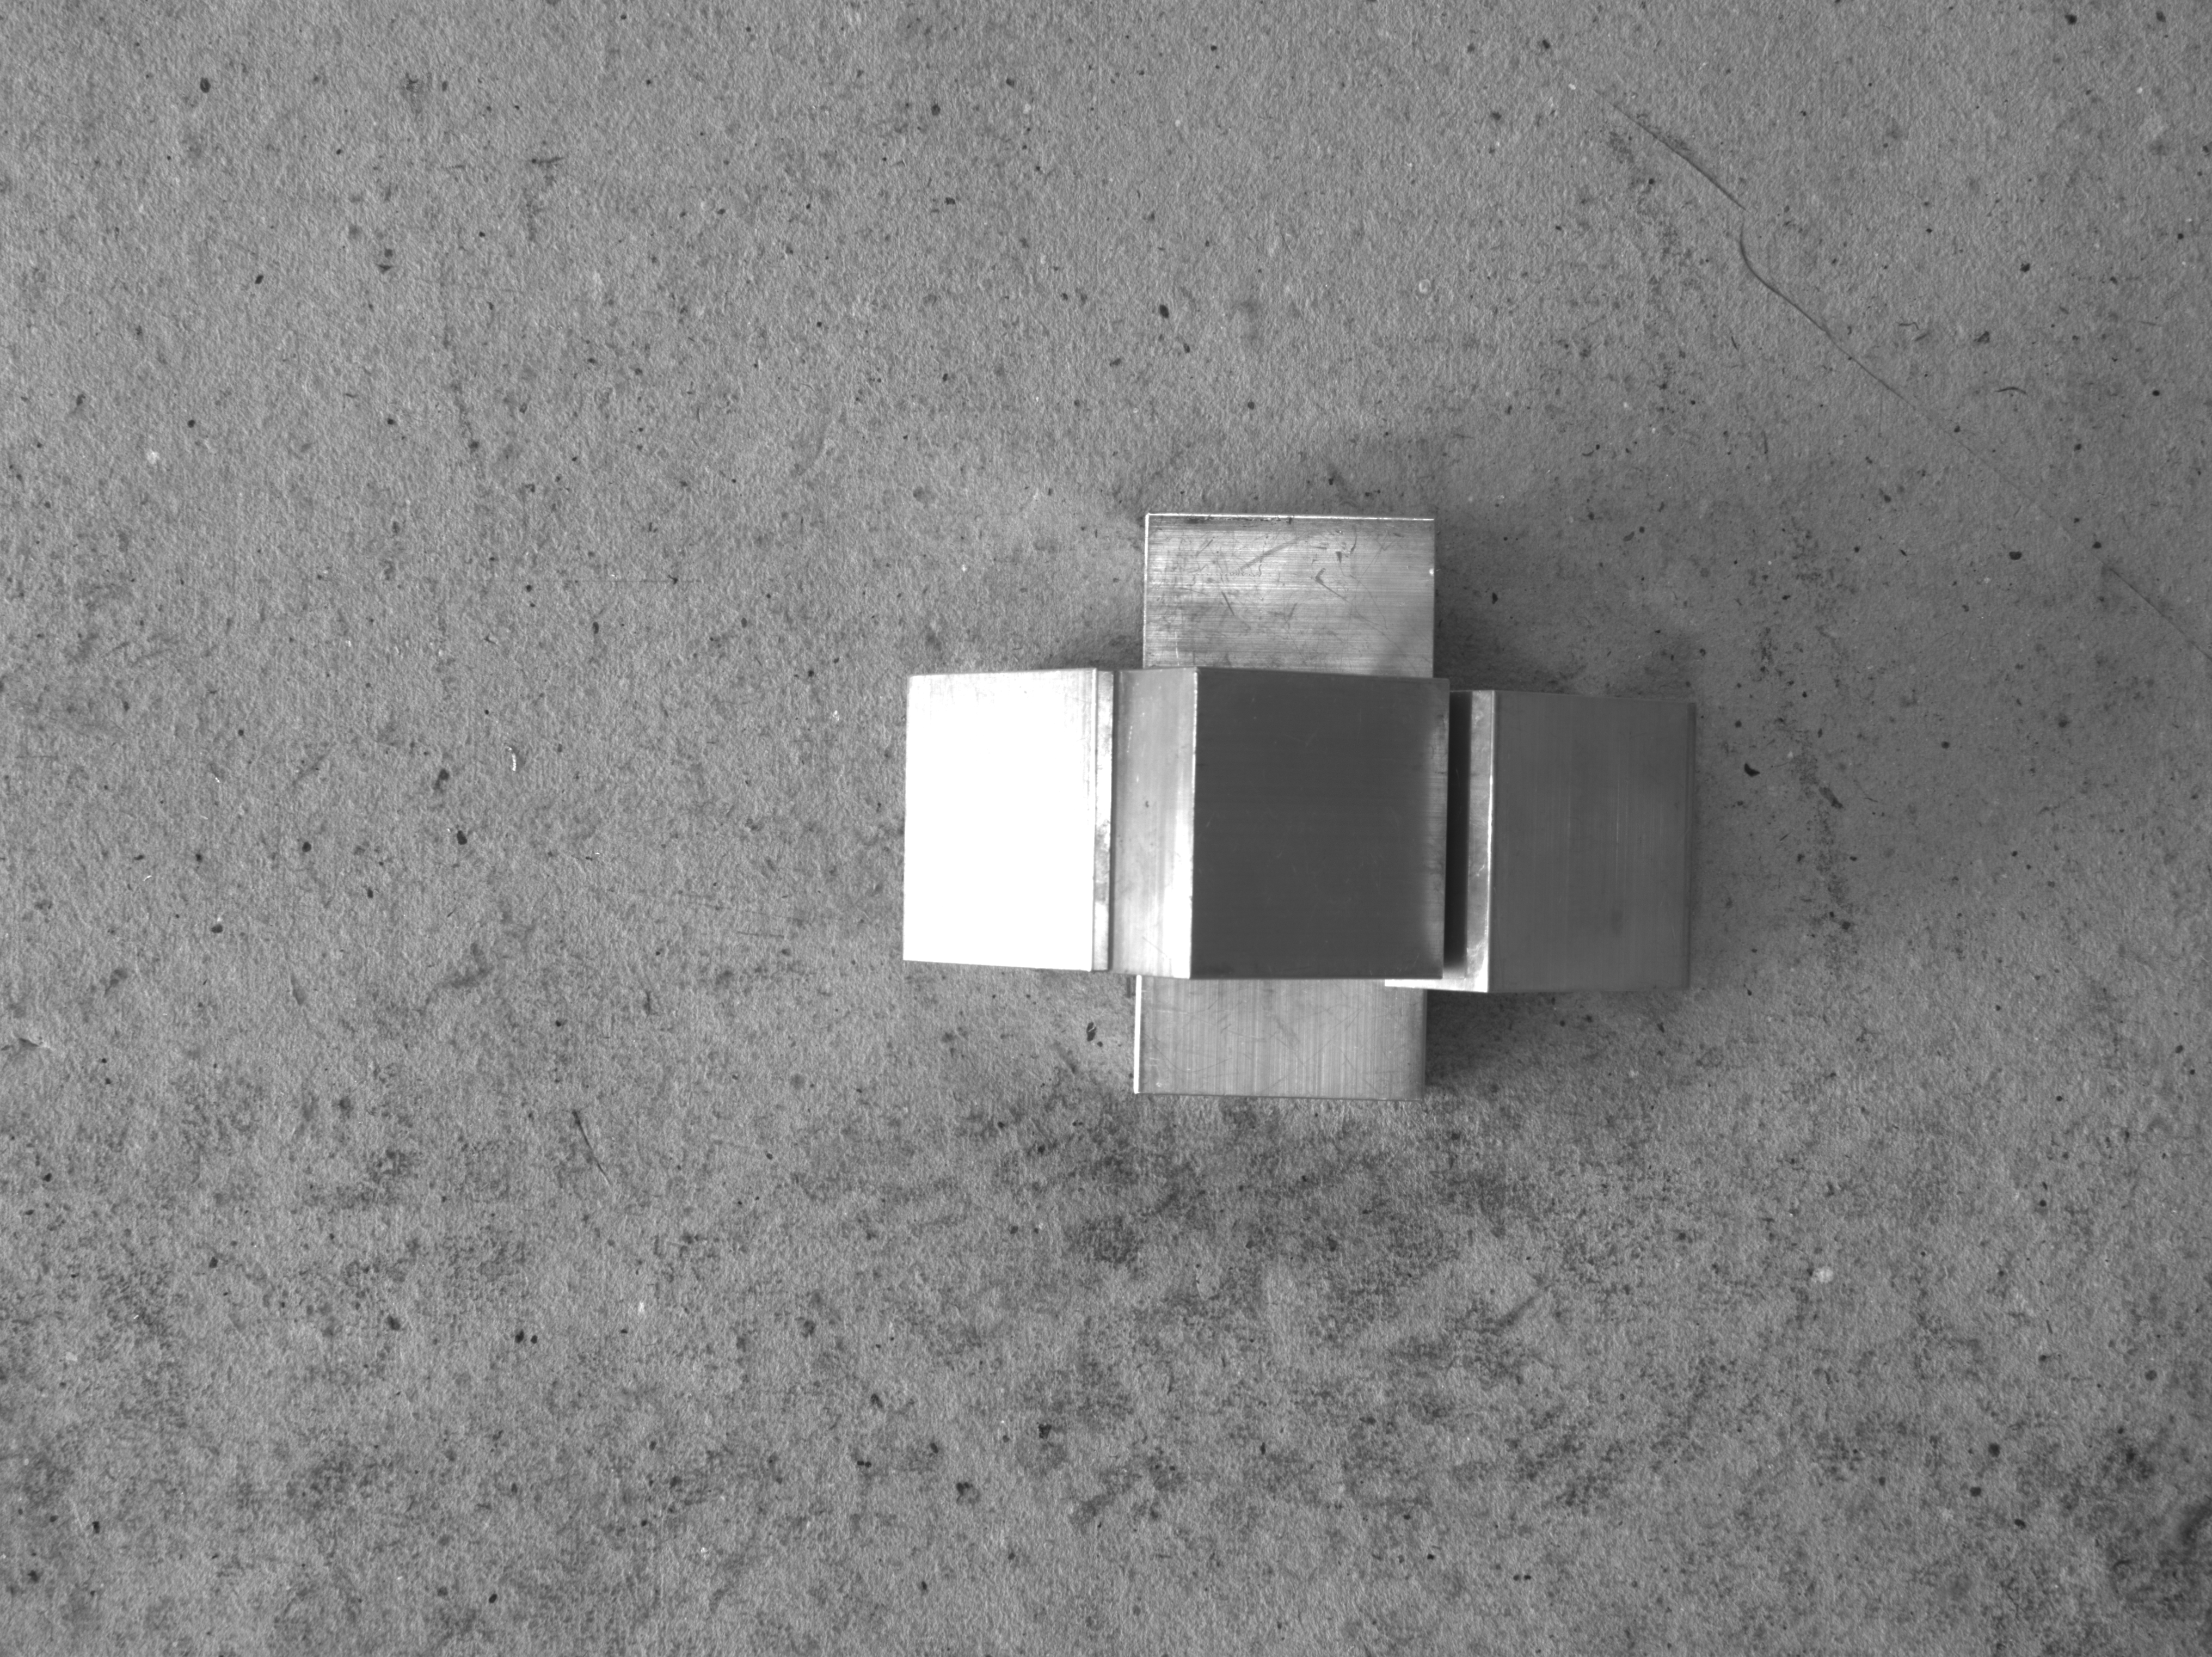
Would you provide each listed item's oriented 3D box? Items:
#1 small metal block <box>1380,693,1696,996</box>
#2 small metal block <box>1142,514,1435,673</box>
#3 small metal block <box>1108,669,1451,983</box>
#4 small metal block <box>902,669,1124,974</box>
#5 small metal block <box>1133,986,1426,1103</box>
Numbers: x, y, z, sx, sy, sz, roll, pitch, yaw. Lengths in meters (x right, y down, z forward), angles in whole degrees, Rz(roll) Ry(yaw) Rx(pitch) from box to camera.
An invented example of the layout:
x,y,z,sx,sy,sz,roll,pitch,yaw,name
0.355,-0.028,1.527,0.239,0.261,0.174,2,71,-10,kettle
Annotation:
x,y,z,sx,sy,sz,roll,pitch,yaw,name
0.075,0.003,0.633,0.050,0.025,0.050,1,90,-40,small metal block
0.031,-0.029,0.646,0.050,0.025,0.050,1,90,0,small metal block
0.029,0.000,0.610,0.050,0.025,0.050,1,90,-31,small metal block
-0.009,-0.001,0.632,0.025,0.050,0.050,1,90,-42,small metal block
0.030,0.022,0.646,0.050,0.025,0.050,1,90,0,small metal block
